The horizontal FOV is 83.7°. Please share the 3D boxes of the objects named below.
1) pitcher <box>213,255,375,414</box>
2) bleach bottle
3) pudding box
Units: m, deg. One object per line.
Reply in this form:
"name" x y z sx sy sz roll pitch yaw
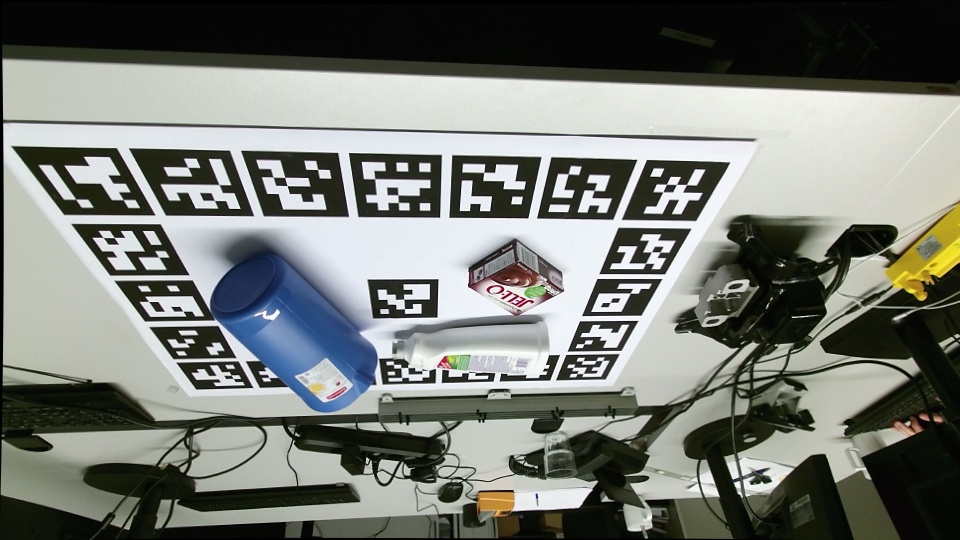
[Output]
"pitcher" -0.275 0.091 0.777 0.189 0.133 0.243 12 145 35
"bleach bottle" -0.023 0.147 0.893 0.252 0.067 0.103 -1 135 -2
"pudding box" 0.048 0.027 0.772 0.090 0.038 0.114 -27 134 32
